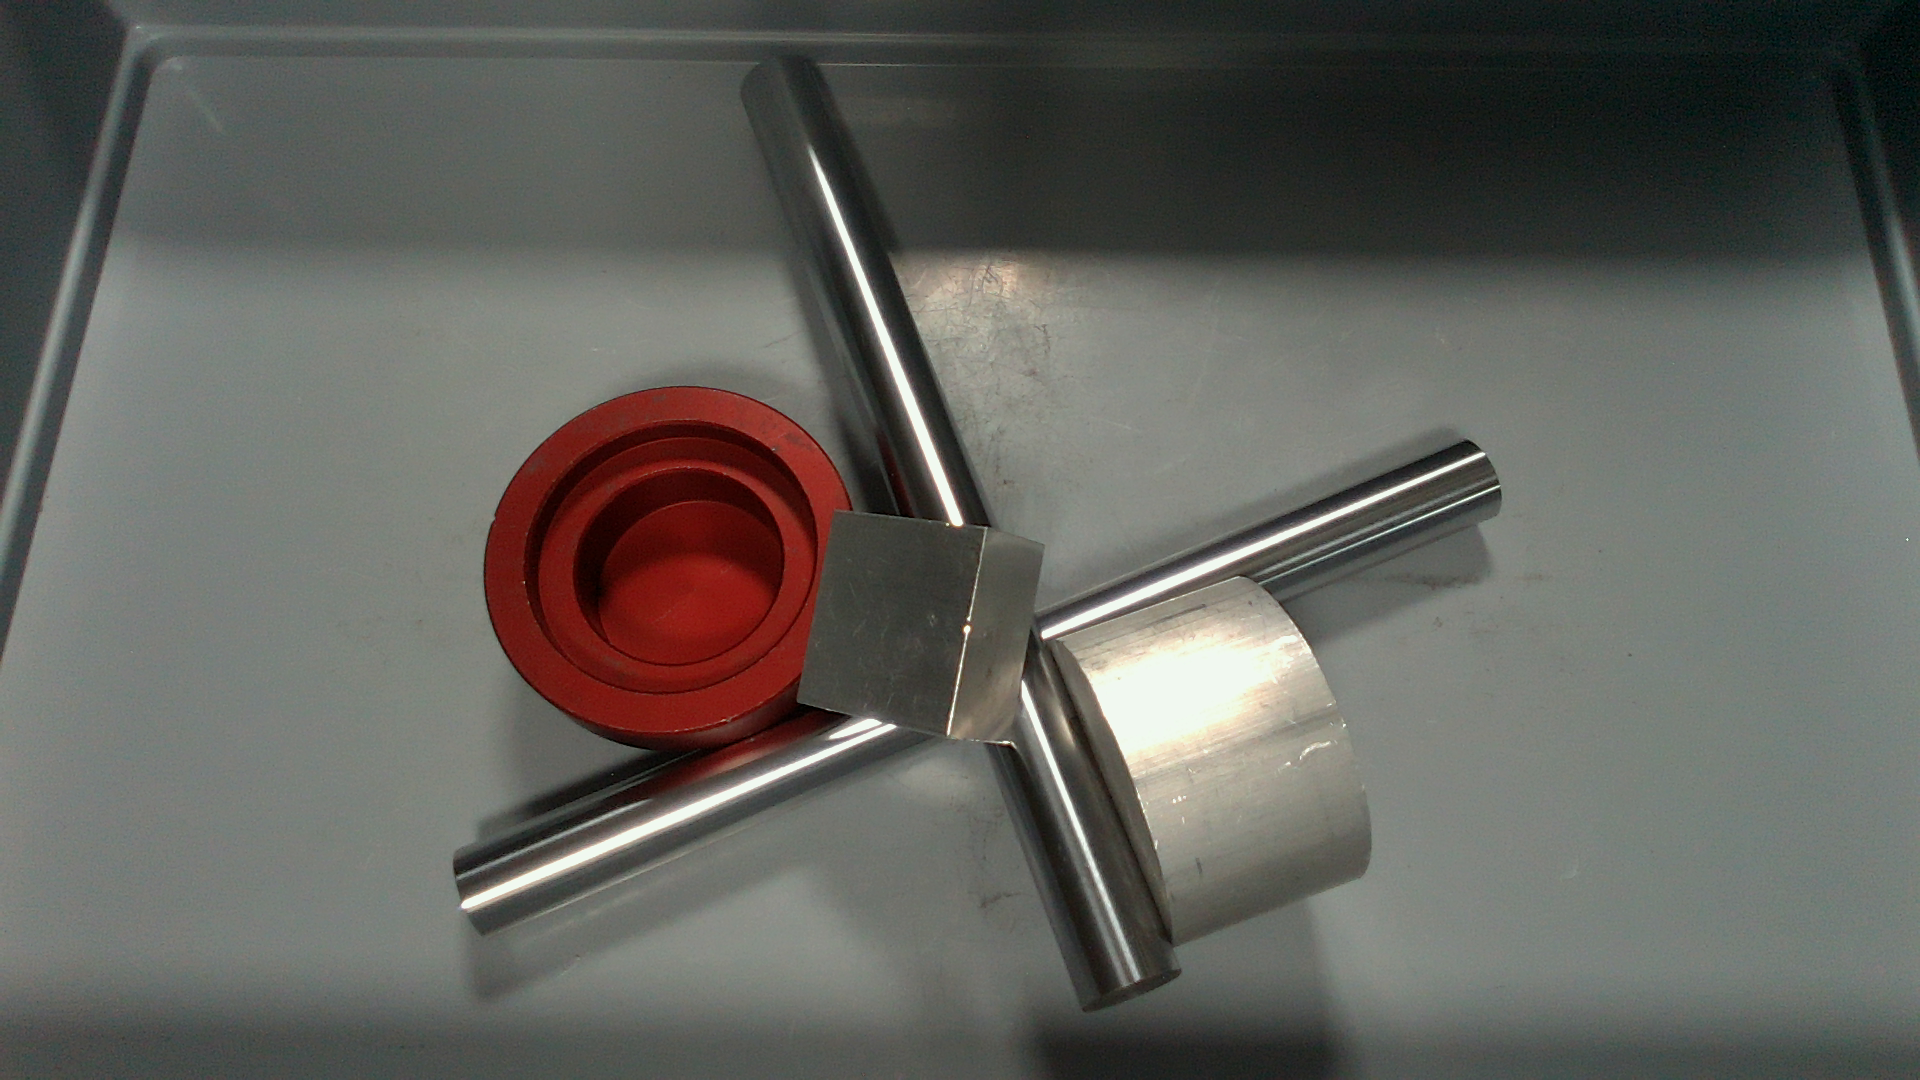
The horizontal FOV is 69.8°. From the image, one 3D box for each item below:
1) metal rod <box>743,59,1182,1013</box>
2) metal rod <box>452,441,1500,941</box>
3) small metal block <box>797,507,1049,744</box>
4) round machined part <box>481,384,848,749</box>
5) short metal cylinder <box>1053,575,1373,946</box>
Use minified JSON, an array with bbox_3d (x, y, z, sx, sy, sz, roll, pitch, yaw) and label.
[{"bbox_3d":[-0.009,-0.021,0.382,0.025,0.025,0.300,-18,64,-6],"label":"metal rod"},{"bbox_3d":[0.011,0.038,0.380,0.300,0.025,0.025,-22,71,-8],"label":"metal rod"},{"bbox_3d":[-0.010,0.021,0.342,0.050,0.025,0.050,7,85,38],"label":"small metal block"},{"bbox_3d":[-0.077,0.010,0.381,0.098,0.042,0.098,0,70,0],"label":"round machined part"},{"bbox_3d":[0.060,0.055,0.344,0.050,0.080,0.080,-19,71,-6],"label":"short metal cylinder"}]
